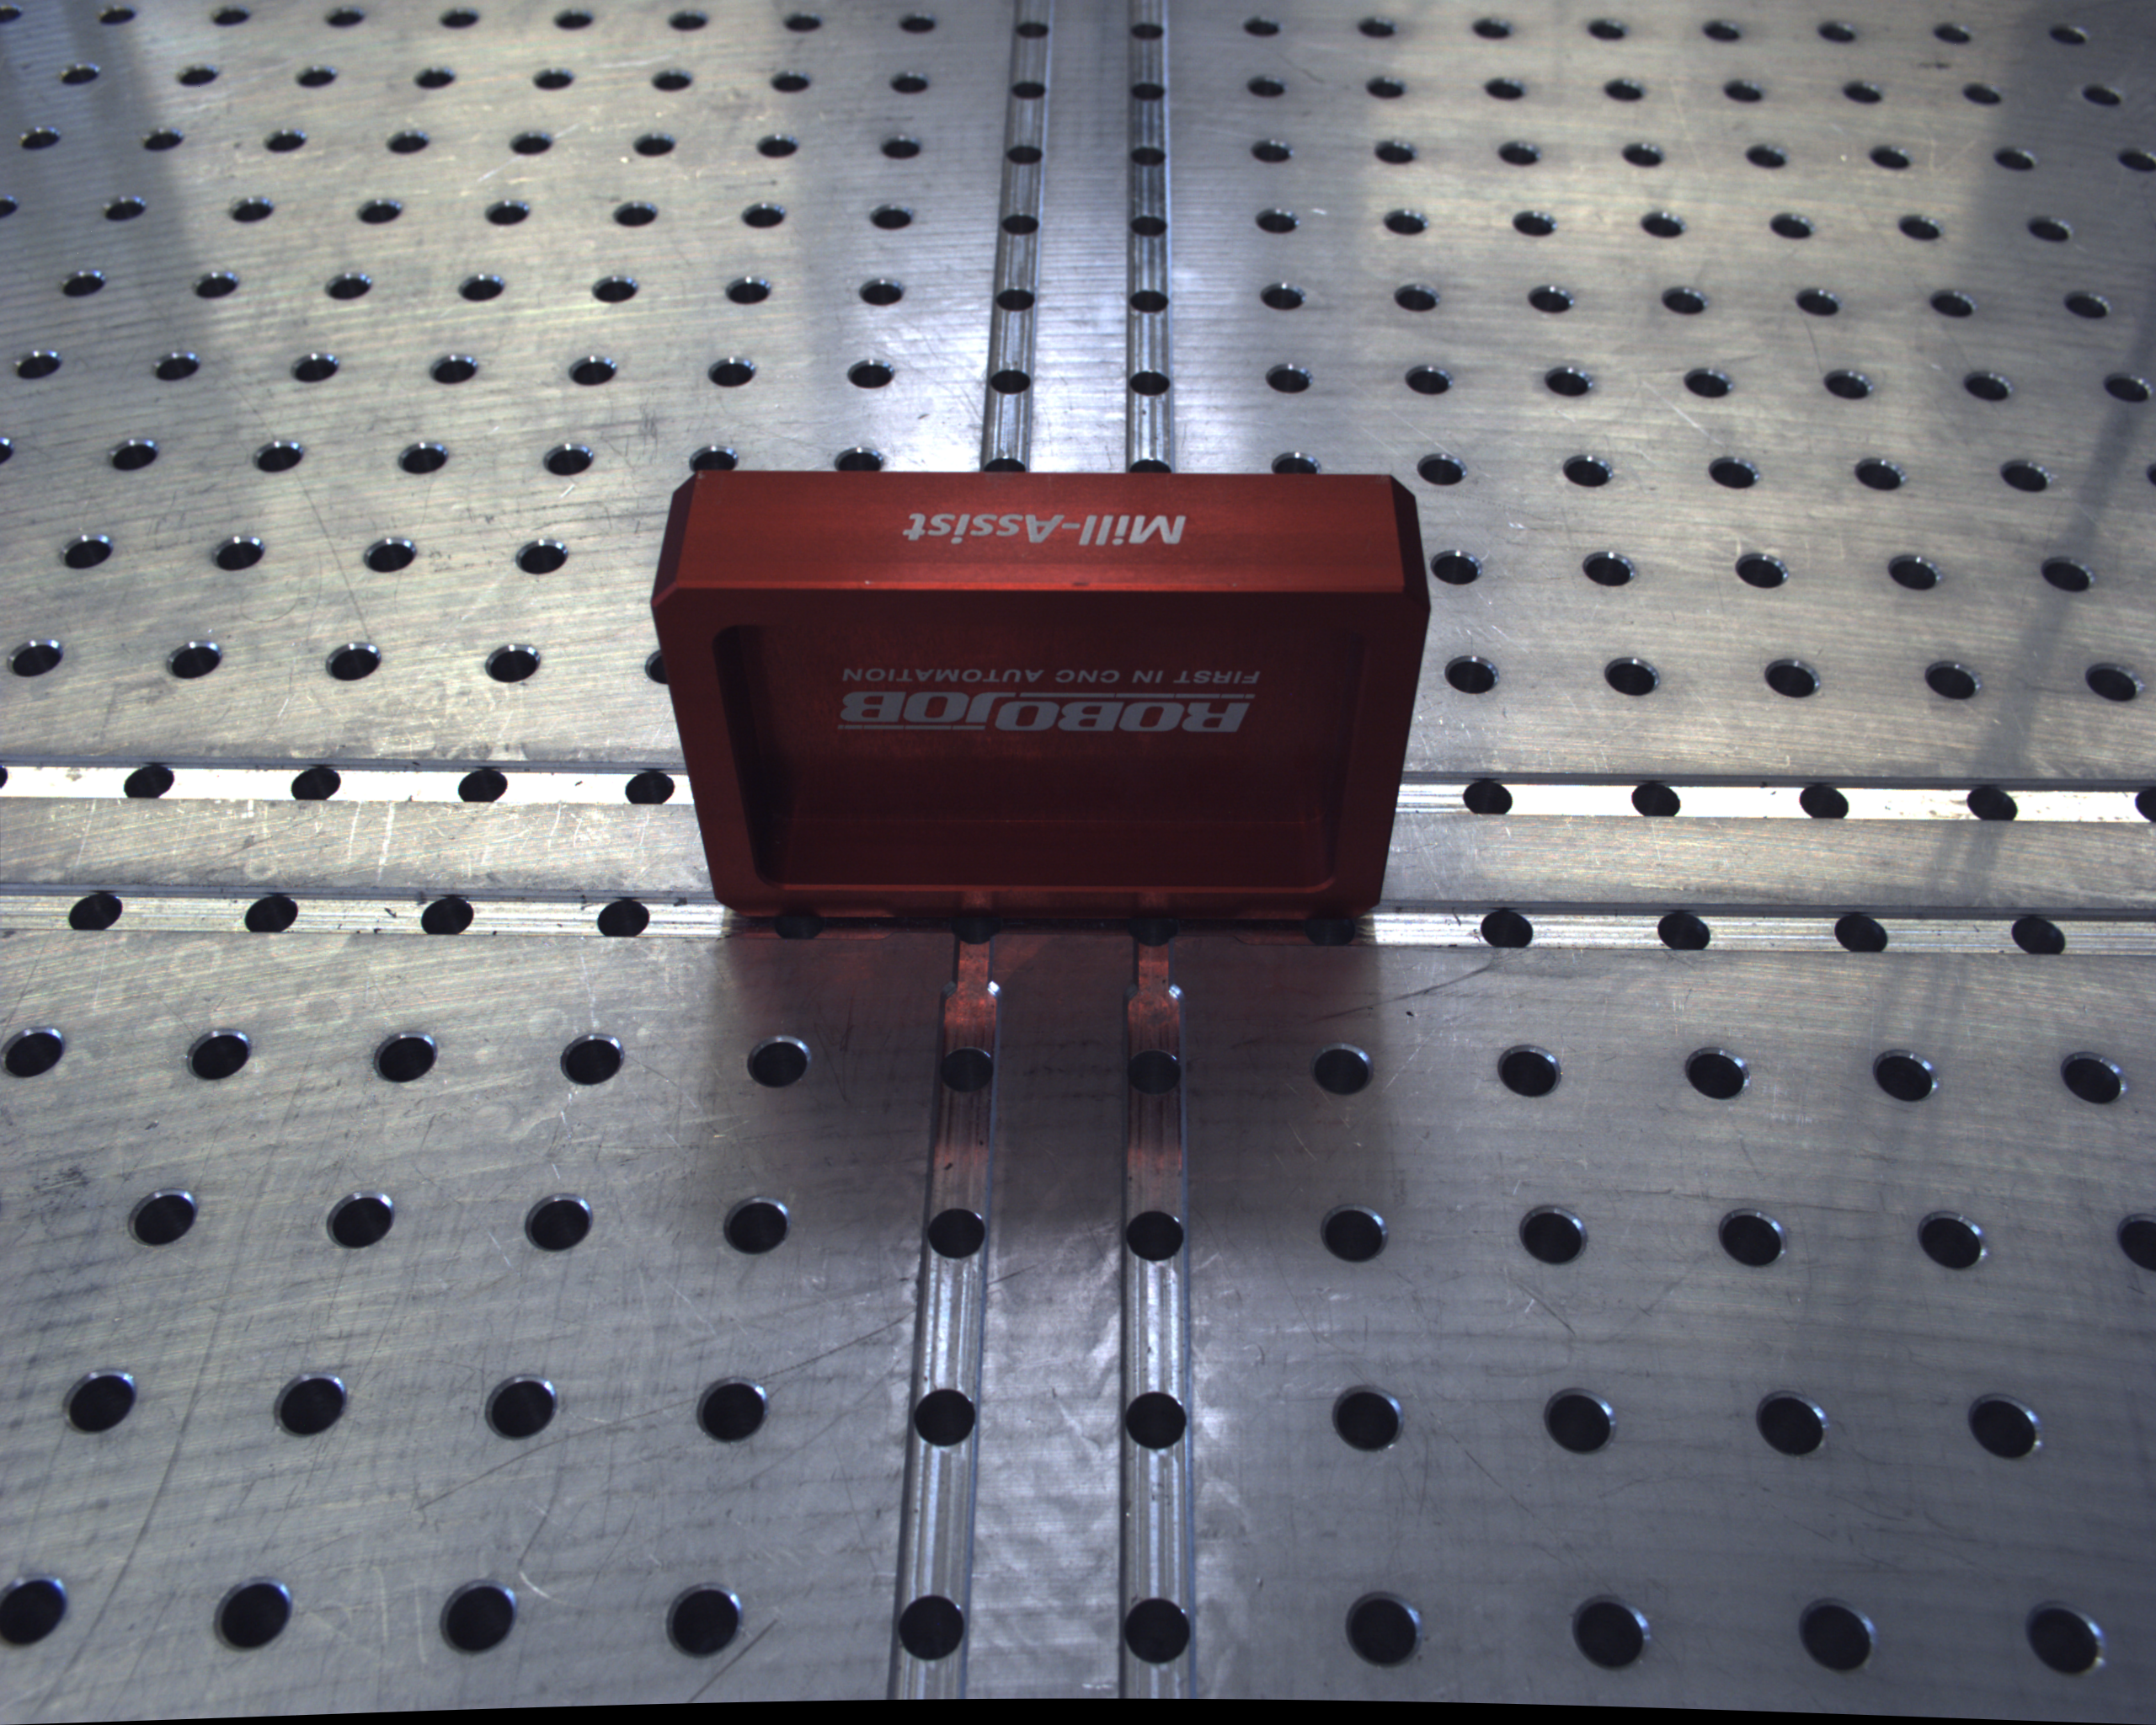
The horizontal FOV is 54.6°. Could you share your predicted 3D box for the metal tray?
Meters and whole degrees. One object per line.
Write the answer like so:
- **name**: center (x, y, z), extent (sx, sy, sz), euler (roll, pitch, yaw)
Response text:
- **metal tray**: center (-0.006, -0.029, 0.389), extent (0.131, 0.090, 0.030), euler (0, 50, 0)
